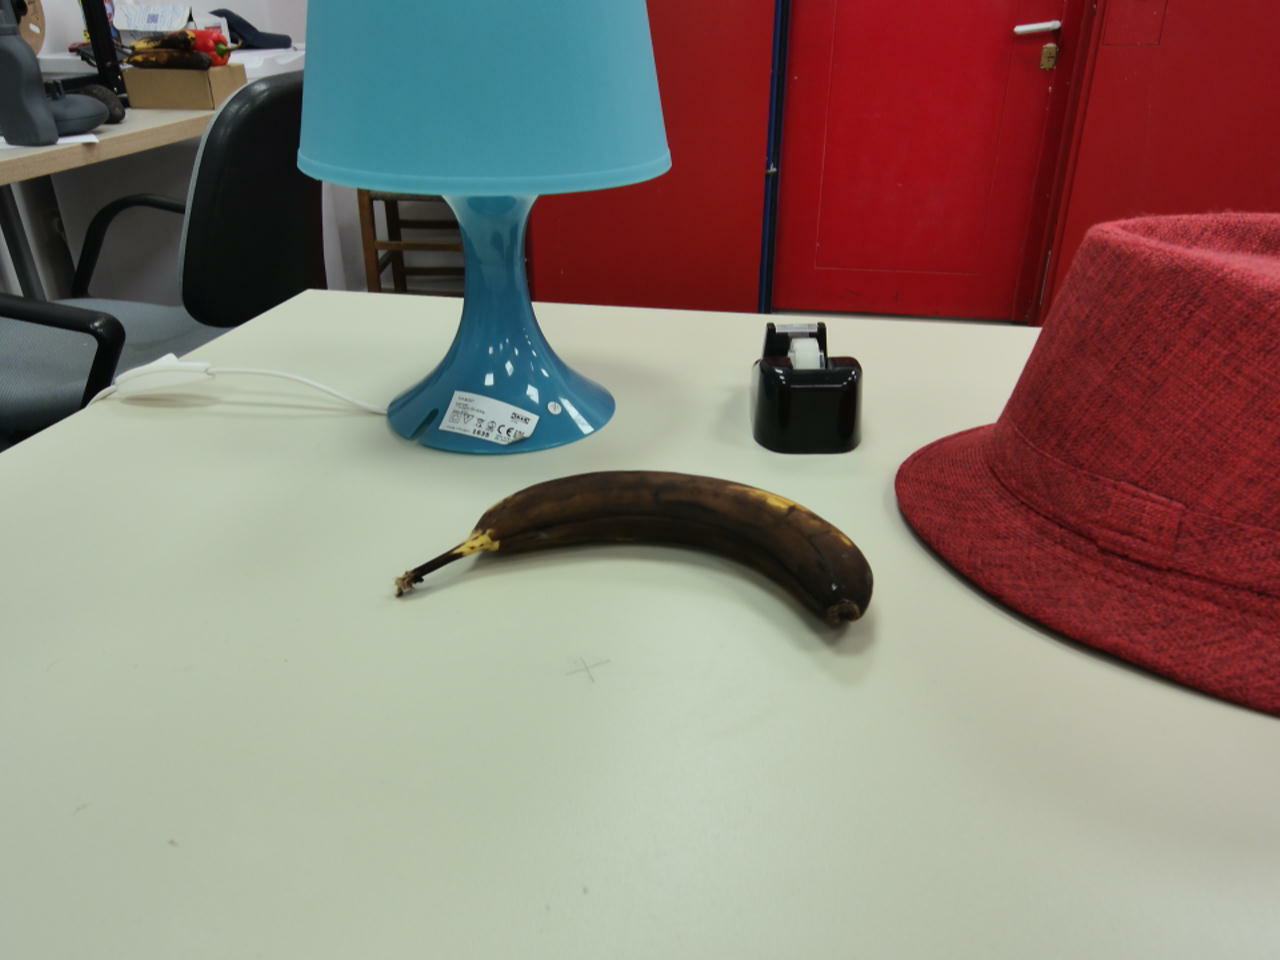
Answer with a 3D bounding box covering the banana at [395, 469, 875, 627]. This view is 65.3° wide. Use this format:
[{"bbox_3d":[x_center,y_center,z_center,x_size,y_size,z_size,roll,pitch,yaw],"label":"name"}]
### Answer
[{"bbox_3d":[0.002,0.023,0.416,0.188,0.034,0.091,6,25,13],"label":"banana"}]
